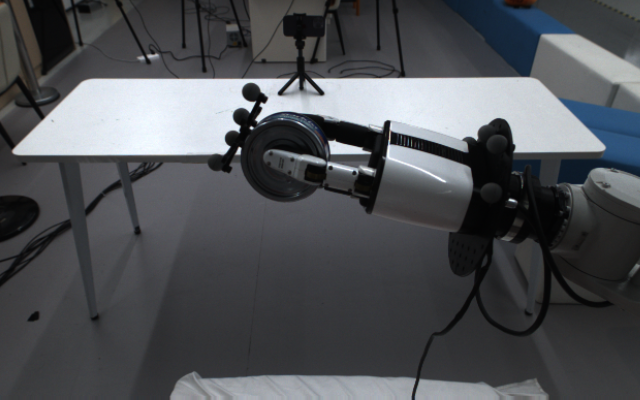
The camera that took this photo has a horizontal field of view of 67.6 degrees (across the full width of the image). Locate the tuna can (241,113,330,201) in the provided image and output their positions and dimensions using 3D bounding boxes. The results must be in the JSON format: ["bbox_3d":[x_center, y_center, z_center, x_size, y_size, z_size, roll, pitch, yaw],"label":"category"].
[{"bbox_3d":[-0.031,-0.044,0.482,0.085,0.085,0.034,3,20,2],"label":"tuna can"}]
